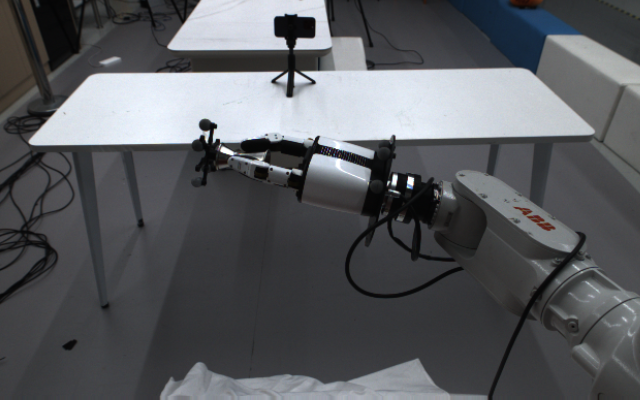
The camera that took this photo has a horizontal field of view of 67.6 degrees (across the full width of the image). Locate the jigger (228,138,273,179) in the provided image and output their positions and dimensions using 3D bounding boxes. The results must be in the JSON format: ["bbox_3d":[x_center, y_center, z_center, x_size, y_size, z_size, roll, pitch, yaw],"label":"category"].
[{"bbox_3d":[-0.101,-0.058,0.681,0.071,0.043,0.043,10,35,3],"label":"jigger"}]
